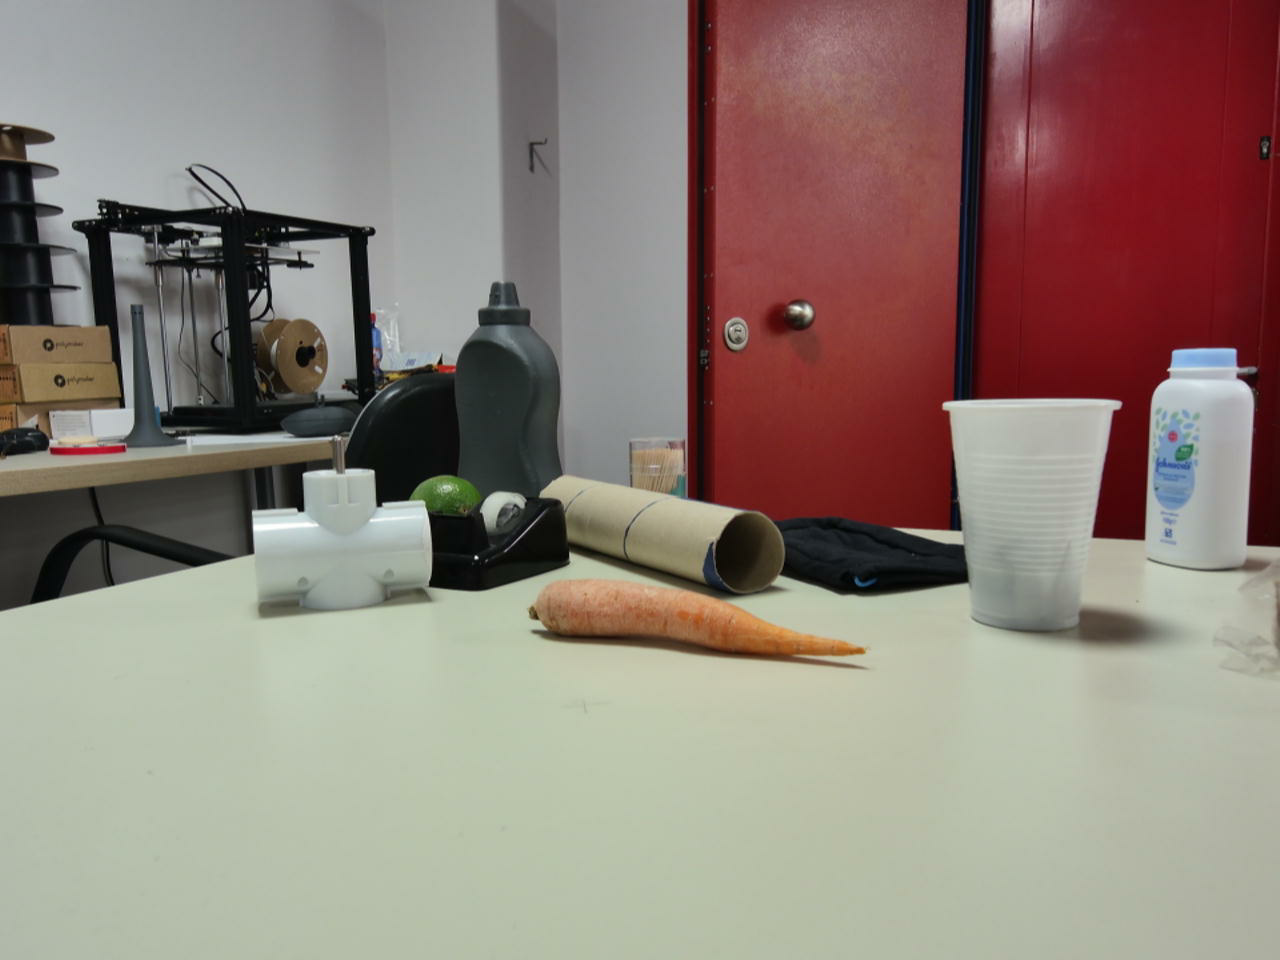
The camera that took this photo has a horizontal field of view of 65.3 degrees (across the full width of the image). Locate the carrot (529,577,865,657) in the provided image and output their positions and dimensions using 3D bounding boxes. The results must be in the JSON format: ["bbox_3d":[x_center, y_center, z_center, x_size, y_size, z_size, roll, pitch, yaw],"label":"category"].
[{"bbox_3d":[0.021,0.063,0.455,0.163,0.029,0.031,2,4,25],"label":"carrot"}]
